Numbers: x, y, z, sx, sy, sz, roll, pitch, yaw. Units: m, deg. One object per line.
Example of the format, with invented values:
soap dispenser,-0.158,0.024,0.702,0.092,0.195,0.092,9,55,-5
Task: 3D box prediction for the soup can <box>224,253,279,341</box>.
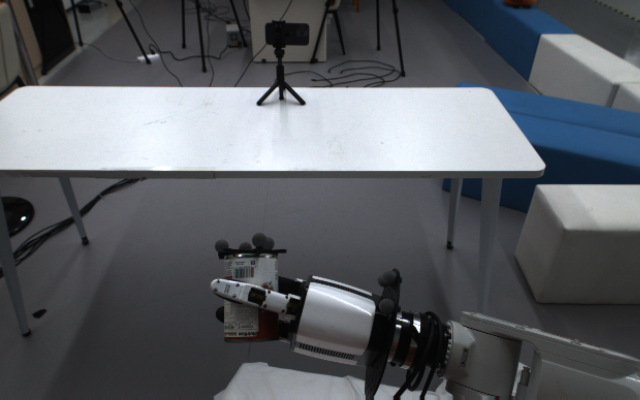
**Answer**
soup can,-0.081,0.121,0.593,0.067,0.067,0.101,-1,77,-5
